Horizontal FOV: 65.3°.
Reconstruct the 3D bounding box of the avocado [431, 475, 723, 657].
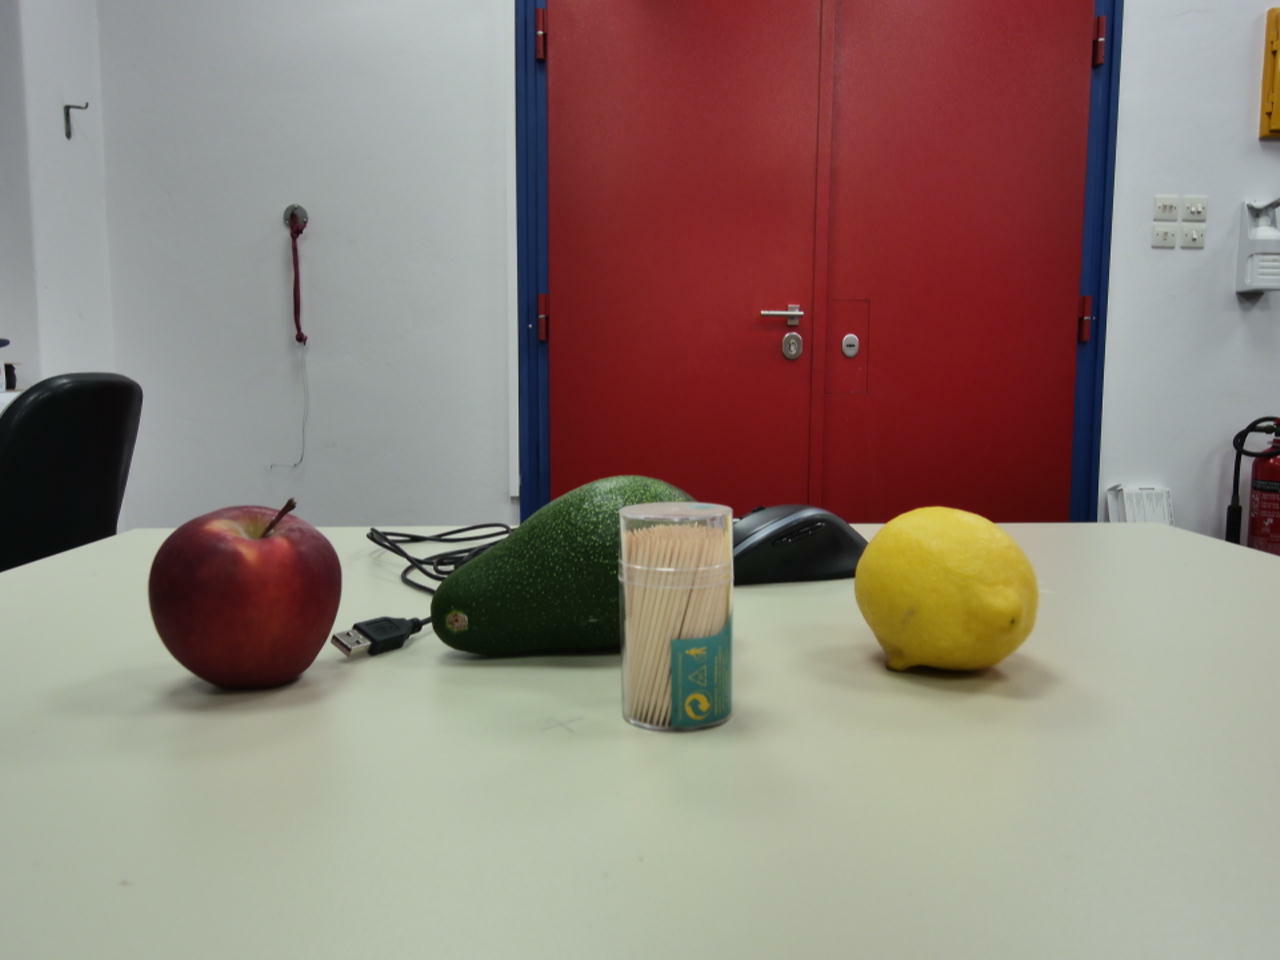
[{"bbox_3d":[-0.025,0.036,0.442,0.123,0.076,0.074,0,4,6],"label":"avocado"}]
